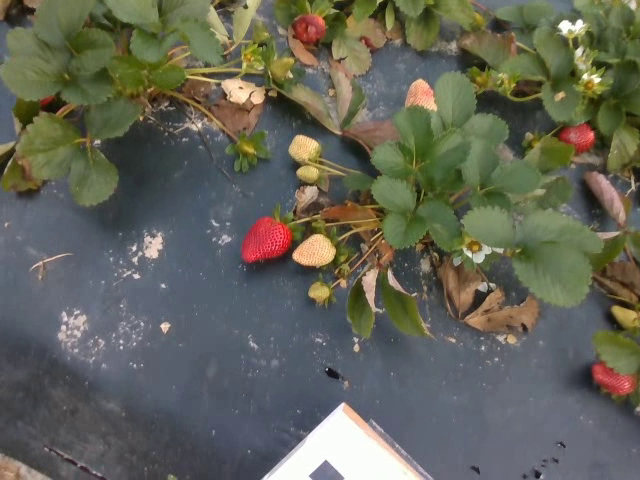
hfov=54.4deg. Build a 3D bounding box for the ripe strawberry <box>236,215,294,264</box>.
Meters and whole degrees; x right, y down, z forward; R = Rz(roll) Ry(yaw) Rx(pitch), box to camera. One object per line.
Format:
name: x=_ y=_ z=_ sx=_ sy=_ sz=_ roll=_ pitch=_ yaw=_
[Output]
ripe strawberry: x=-0.051 y=0.001 z=0.563 sx=0.050 sy=0.059 sz=0.034 roll=33 pitch=-40 yaw=8
